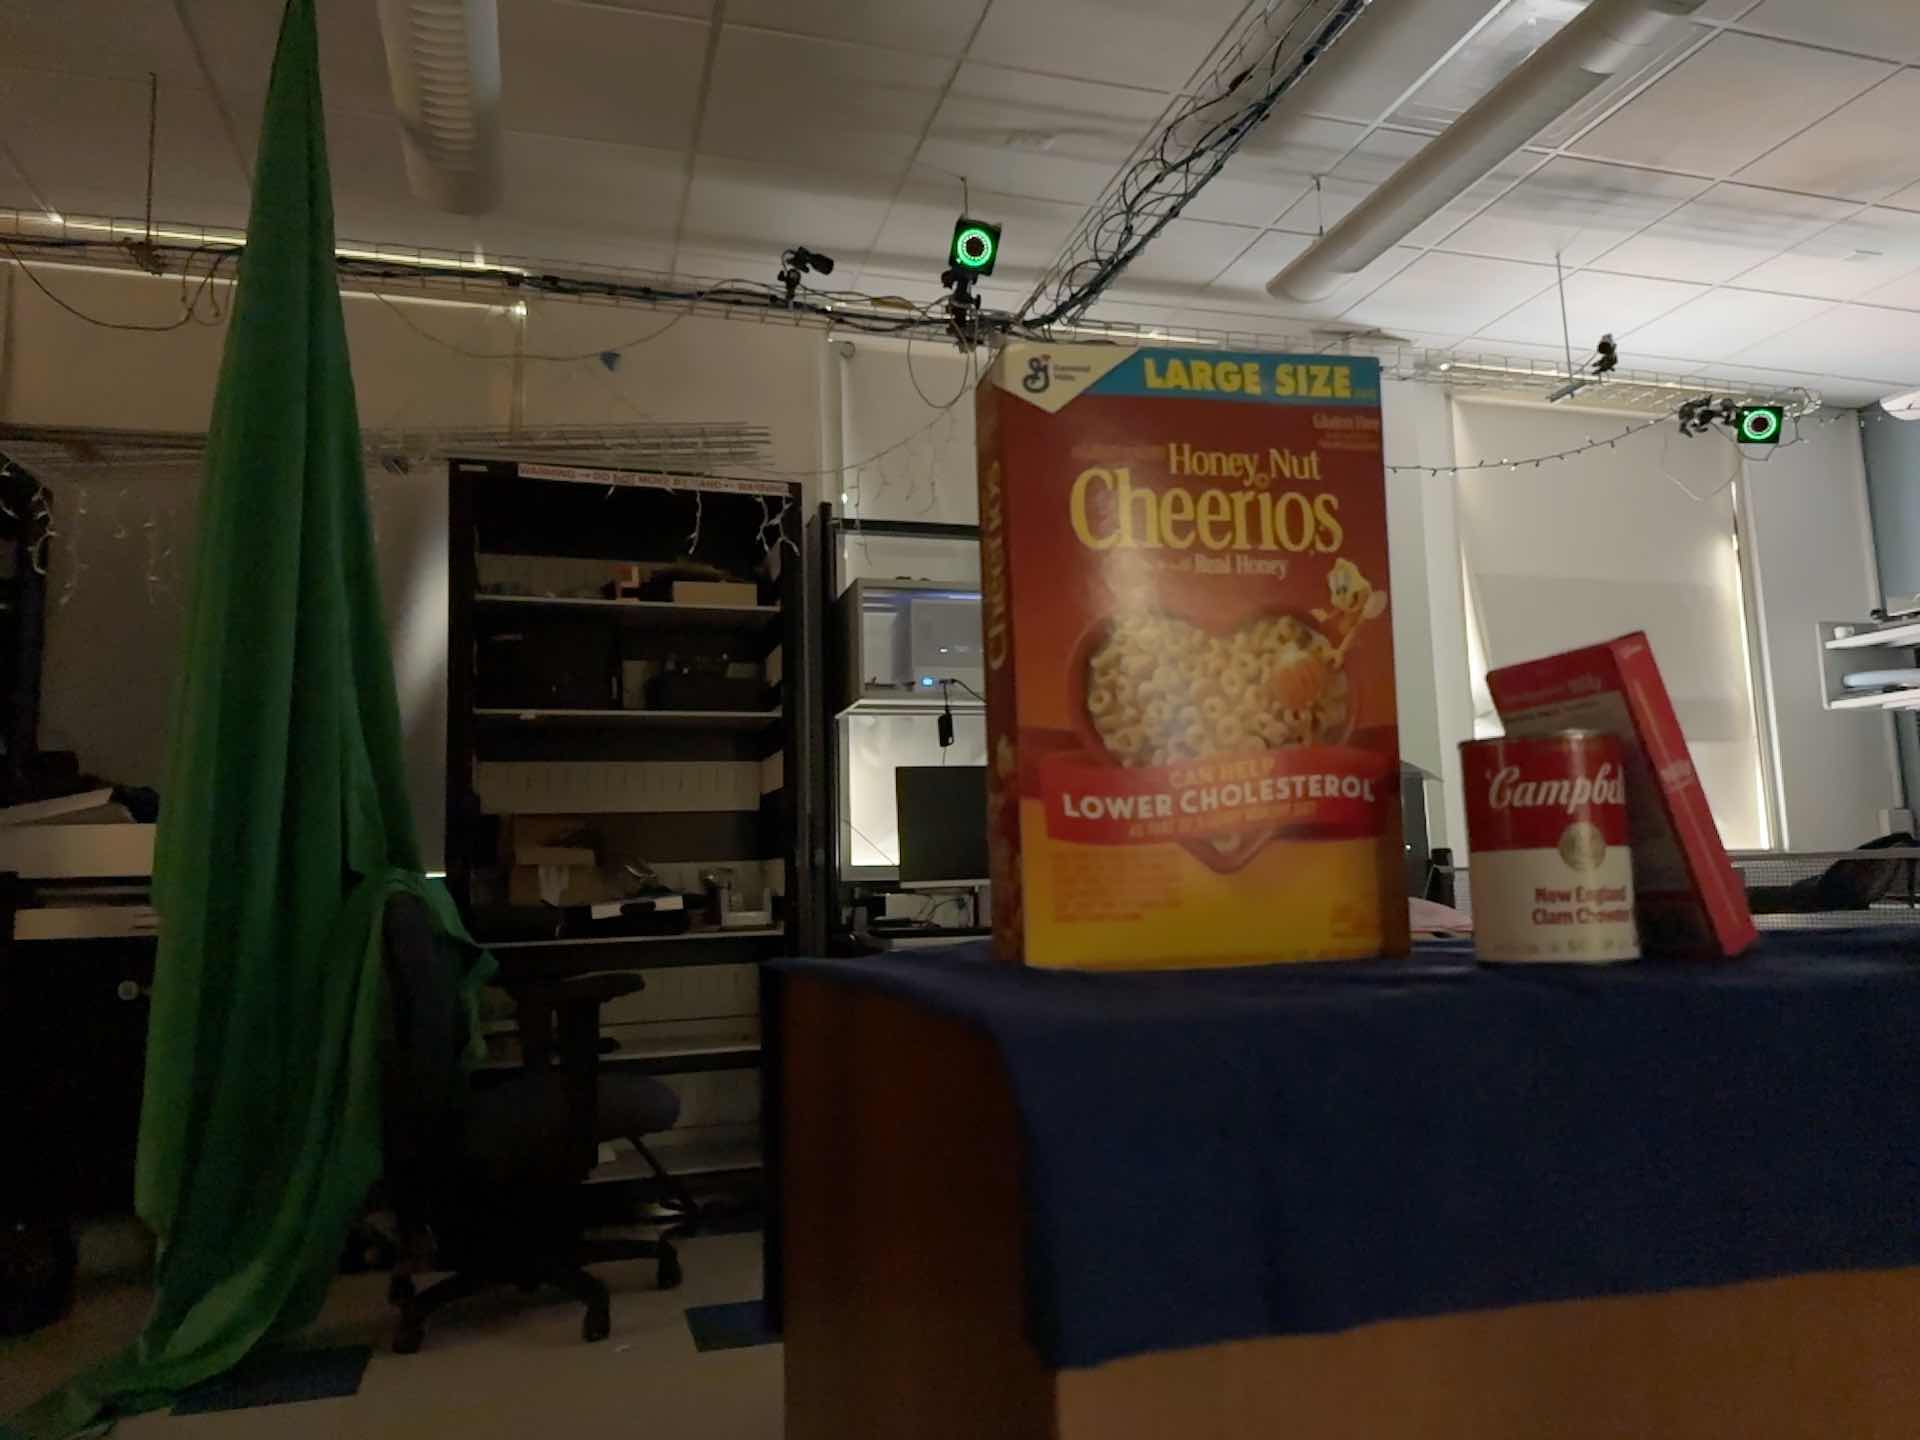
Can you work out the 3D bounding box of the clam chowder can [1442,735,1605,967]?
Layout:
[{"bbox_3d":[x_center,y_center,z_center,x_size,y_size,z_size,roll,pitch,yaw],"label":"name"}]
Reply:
[{"bbox_3d":[0.260,0.061,0.624,0.068,0.102,0.068,1,-6,0],"label":"clam chowder can"}]

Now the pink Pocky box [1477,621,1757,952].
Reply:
[{"bbox_3d":[0.313,0.034,0.650,0.029,0.155,0.084,-21,0,-22],"label":"pink Pocky box"}]

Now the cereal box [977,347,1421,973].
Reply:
[{"bbox_3d":[0.116,-0.032,0.682,0.195,0.297,0.065,0,-6,-9],"label":"cereal box"}]
